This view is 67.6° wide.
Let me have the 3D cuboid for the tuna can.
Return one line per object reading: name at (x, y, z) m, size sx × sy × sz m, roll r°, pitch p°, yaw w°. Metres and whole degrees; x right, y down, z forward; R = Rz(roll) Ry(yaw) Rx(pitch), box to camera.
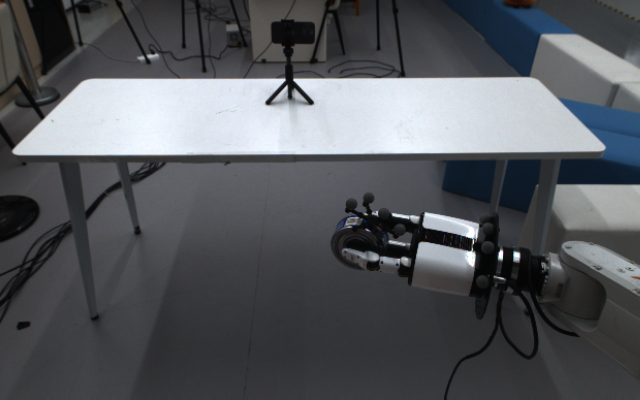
tuna can at (0.064, 0.073, 0.741) m, size 0.085 × 0.085 × 0.034 m, roll 12°, pitch 35°, yaw 14°
